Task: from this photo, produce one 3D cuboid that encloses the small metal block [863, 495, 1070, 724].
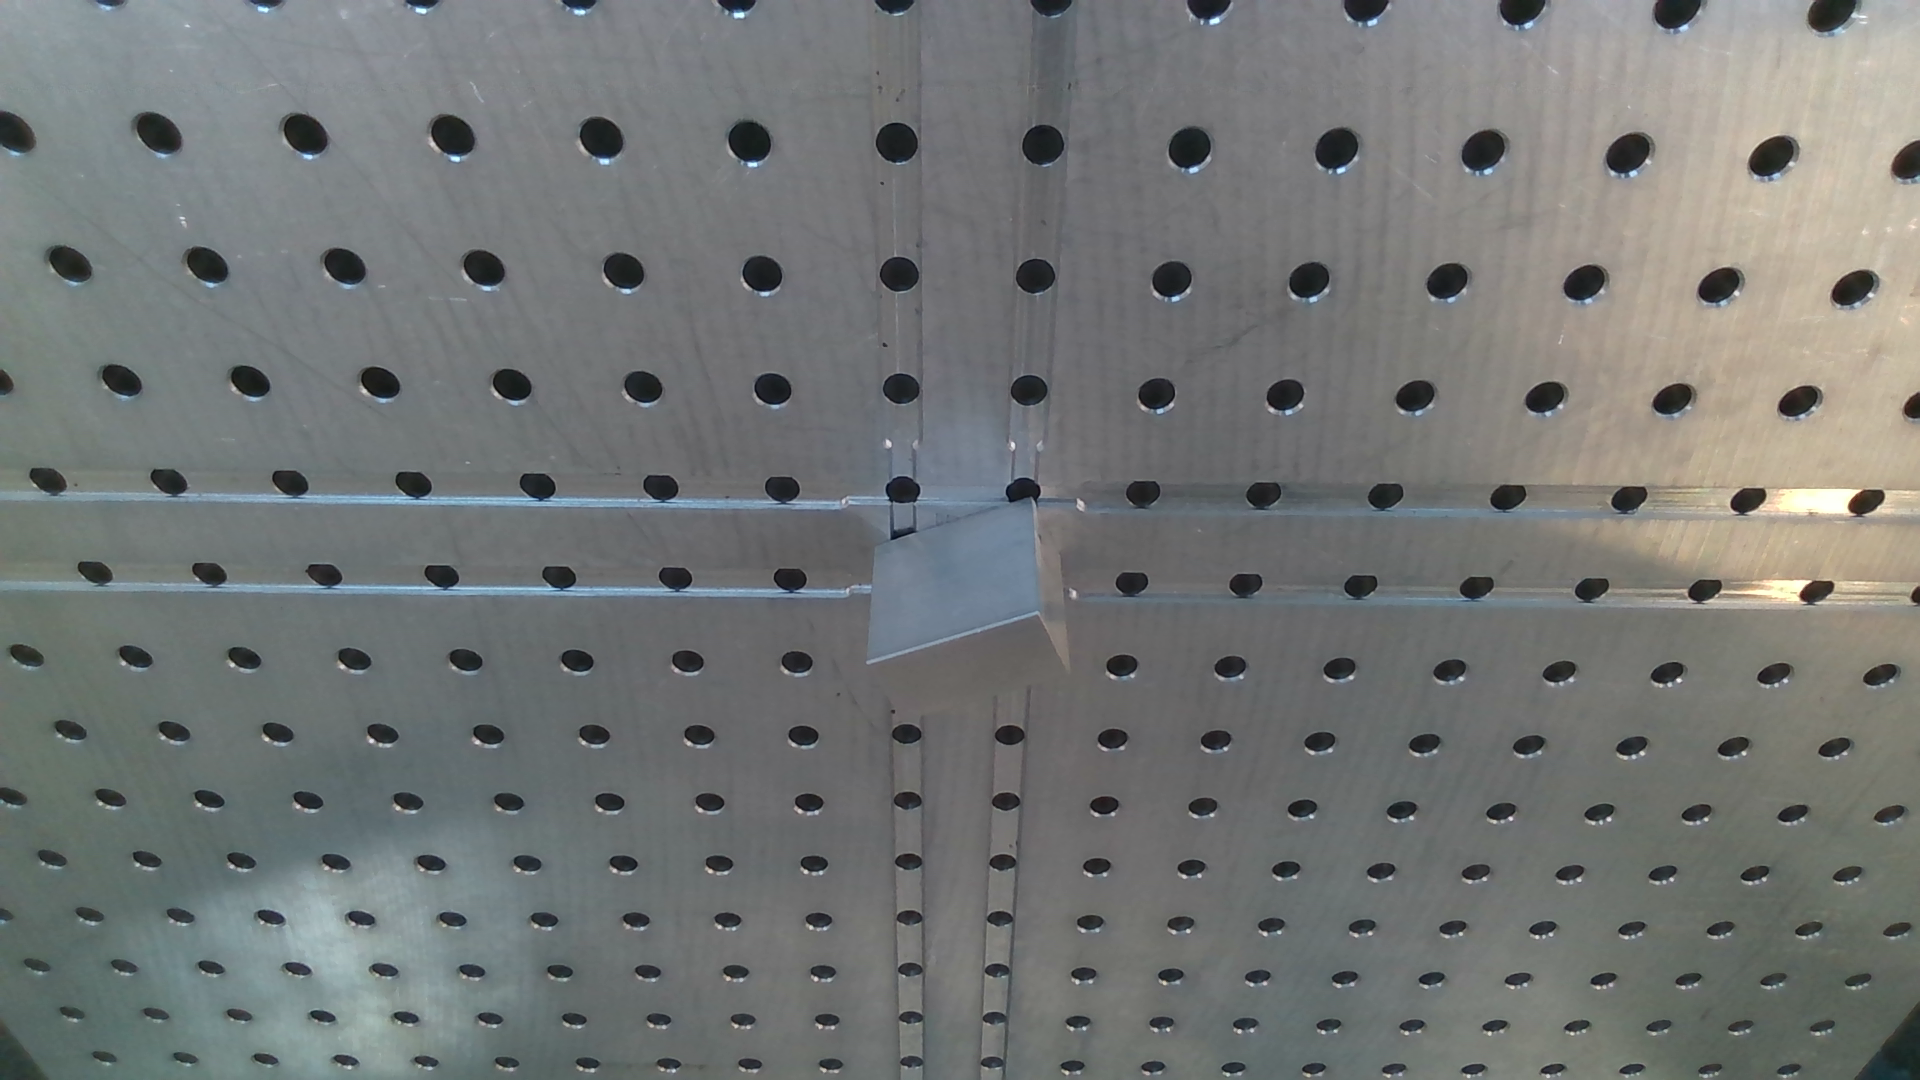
[{"bbox_3d":[0.002,0.019,0.391,0.050,0.050,0.025,-17,128,15],"label":"small metal block"}]
